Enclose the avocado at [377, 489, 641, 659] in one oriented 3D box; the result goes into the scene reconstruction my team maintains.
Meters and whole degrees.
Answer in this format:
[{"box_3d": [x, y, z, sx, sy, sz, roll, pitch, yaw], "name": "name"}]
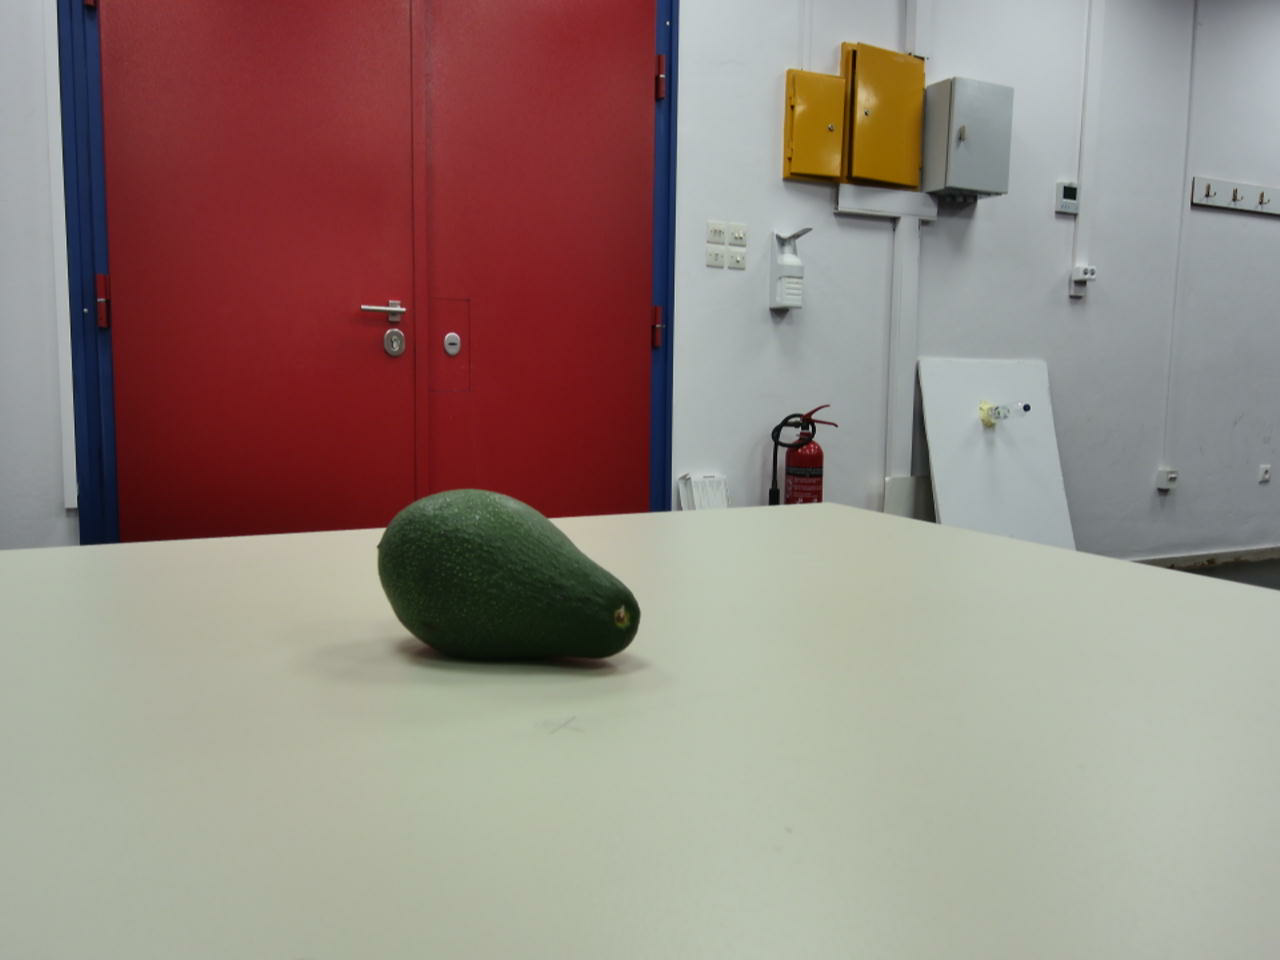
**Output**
[{"box_3d": [-0.059, 0.040, 0.417, 0.110, 0.071, 0.072, 4, 5, 41], "name": "avocado"}]
